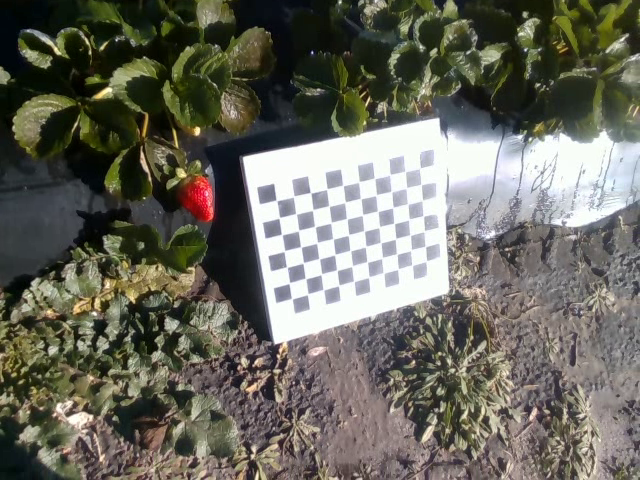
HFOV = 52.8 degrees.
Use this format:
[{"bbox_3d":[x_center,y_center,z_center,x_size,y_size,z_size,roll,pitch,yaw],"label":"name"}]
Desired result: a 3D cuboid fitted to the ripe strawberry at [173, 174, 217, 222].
[{"bbox_3d":[-0.153,-0.050,0.777,0.048,0.069,0.040,-31,18,-10],"label":"ripe strawberry"}]
